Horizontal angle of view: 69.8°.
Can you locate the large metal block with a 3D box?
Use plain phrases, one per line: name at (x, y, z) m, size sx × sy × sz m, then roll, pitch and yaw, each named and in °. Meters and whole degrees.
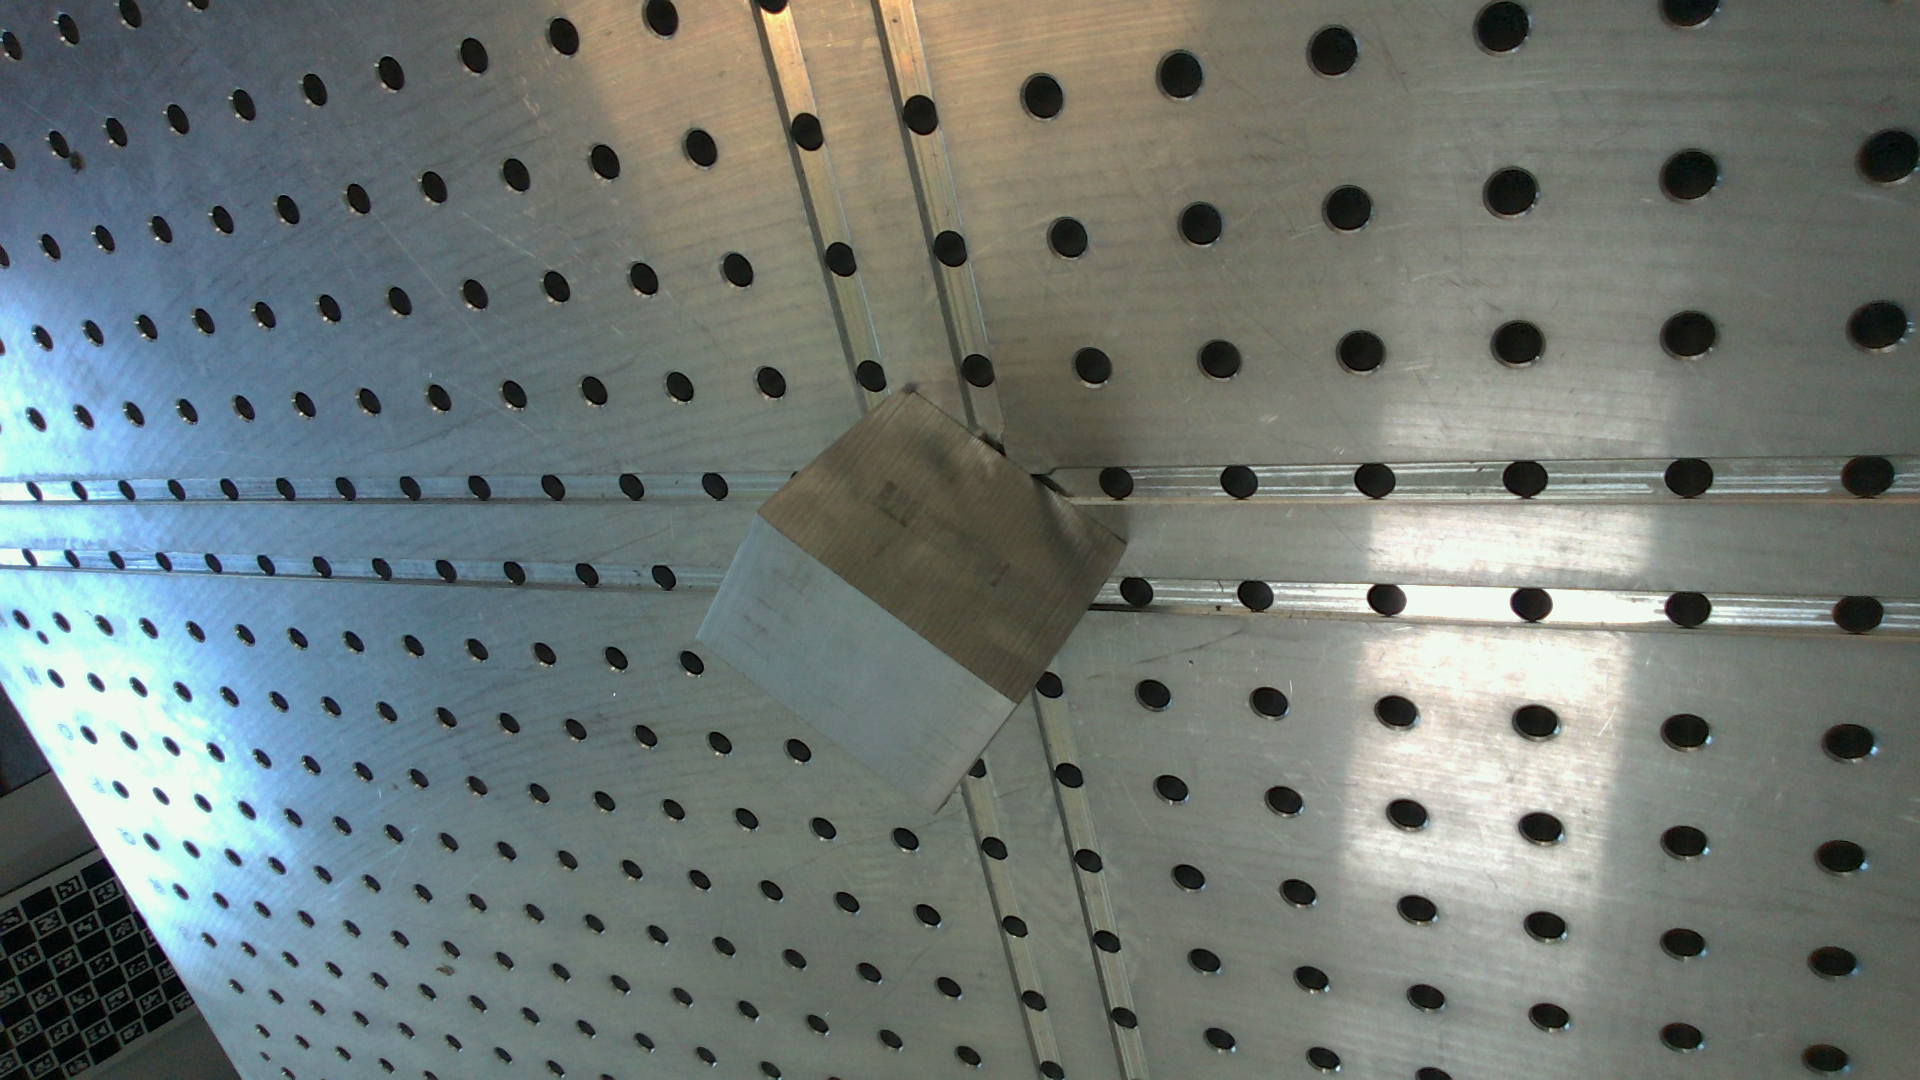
large metal block at (-0.012, 0.014, 0.375) m, size 0.080 × 0.080 × 0.050 m, roll 35°, pitch 129°, yaw 4°
